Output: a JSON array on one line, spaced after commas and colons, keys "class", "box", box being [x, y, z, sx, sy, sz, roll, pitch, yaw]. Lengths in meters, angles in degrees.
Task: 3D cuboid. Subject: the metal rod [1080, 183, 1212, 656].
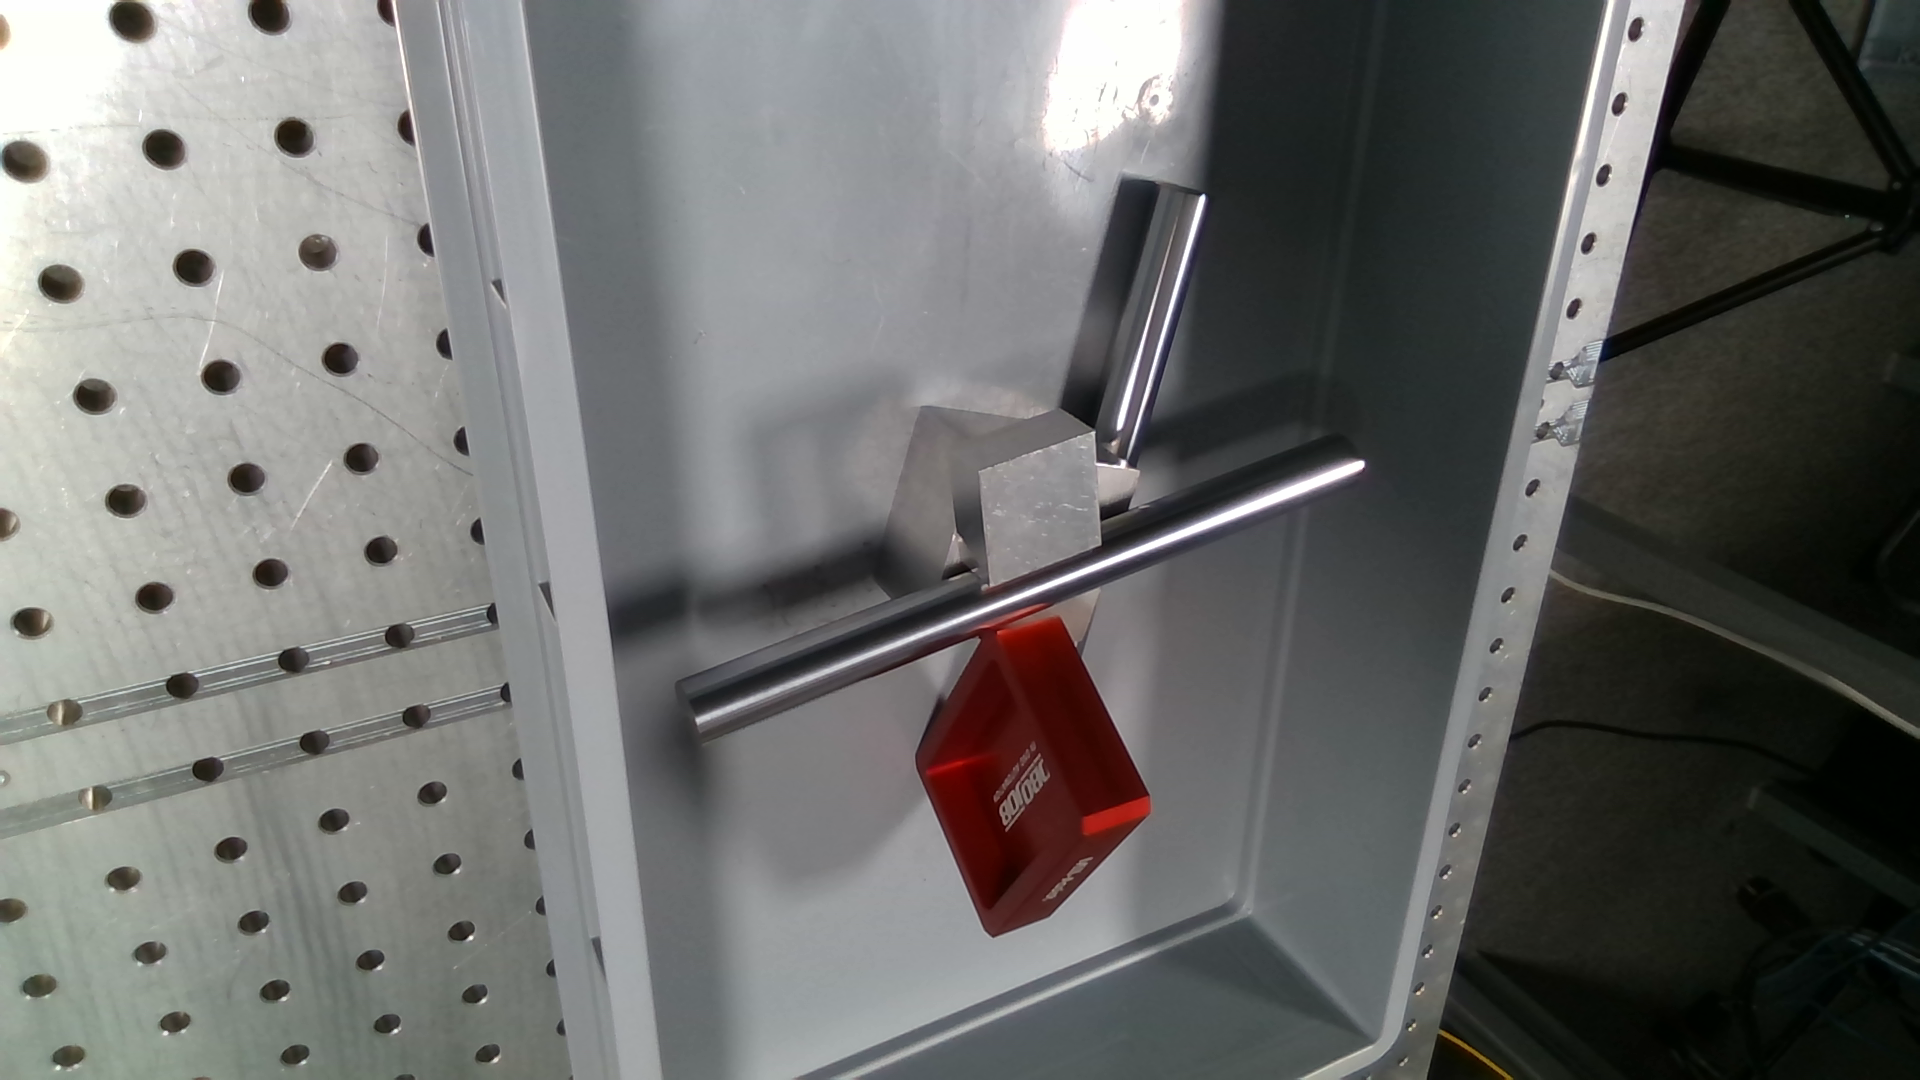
[{"class": "metal rod", "box": [0.057, -0.006, 0.612, 0.025, 0.025, 0.301, 0, 115, -32]}]

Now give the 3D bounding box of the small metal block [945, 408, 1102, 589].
[{"class": "small metal block", "box": [0.025, -0.016, 0.521, 0.050, 0.025, 0.050, -21, 124, -22]}]

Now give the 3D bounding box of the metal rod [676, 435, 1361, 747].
[{"class": "metal rod", "box": [0.034, 0.014, 0.544, 0.300, 0.025, 0.025, -20, 124, -21]}]

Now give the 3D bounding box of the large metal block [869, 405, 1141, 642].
[{"class": "large metal block", "box": [0.018, -0.005, 0.571, 0.080, 0.050, 0.080, 4, 113, -33]}]

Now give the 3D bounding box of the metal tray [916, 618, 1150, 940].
[{"class": "metal tray", "box": [0.025, 0.102, 0.574, 0.030, 0.090, 0.130, -13, 152, -25]}]
